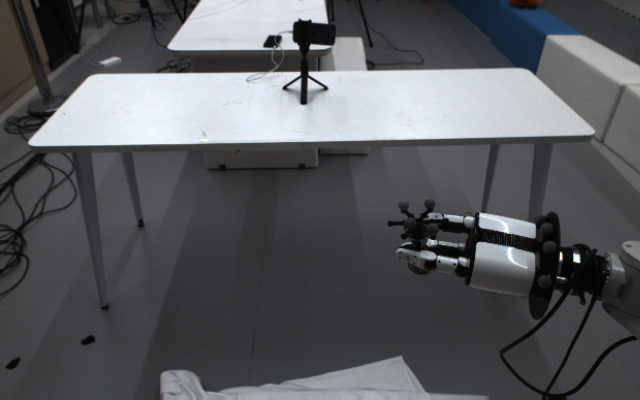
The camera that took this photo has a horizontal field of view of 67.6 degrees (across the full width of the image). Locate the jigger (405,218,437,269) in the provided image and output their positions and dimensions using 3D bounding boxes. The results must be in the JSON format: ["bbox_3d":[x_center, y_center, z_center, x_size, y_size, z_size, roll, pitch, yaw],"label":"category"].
[{"bbox_3d":[0.155,0.073,0.752,0.043,0.071,0.043,-9,31,5],"label":"jigger"}]
